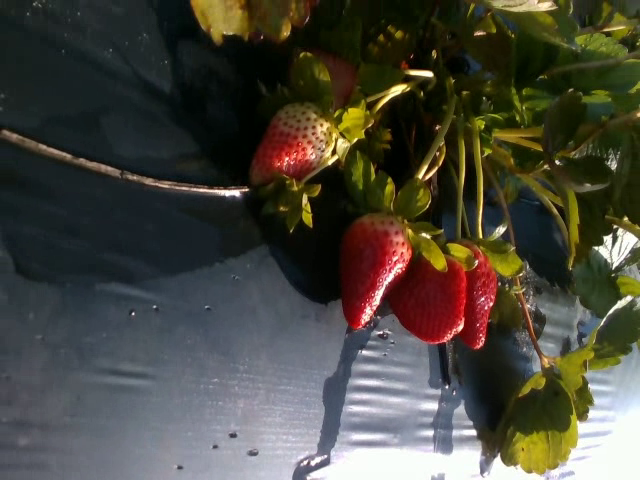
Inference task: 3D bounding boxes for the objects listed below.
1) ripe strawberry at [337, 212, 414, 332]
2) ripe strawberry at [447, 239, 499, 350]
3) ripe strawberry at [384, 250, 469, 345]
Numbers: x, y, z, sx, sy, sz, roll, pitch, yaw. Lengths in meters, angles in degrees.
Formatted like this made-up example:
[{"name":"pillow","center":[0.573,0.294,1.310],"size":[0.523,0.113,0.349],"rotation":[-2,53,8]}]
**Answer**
[{"name":"ripe strawberry","center":[0.020,0.012,0.222],"size":[0.031,0.046,0.023],"rotation":[22,-6,-40]},{"name":"ripe strawberry","center":[0.063,0.029,0.257],"size":[0.035,0.041,0.033],"rotation":[17,-38,-39]},{"name":"ripe strawberry","center":[0.044,0.022,0.235],"size":[0.036,0.039,0.030],"rotation":[-37,-46,19]}]
